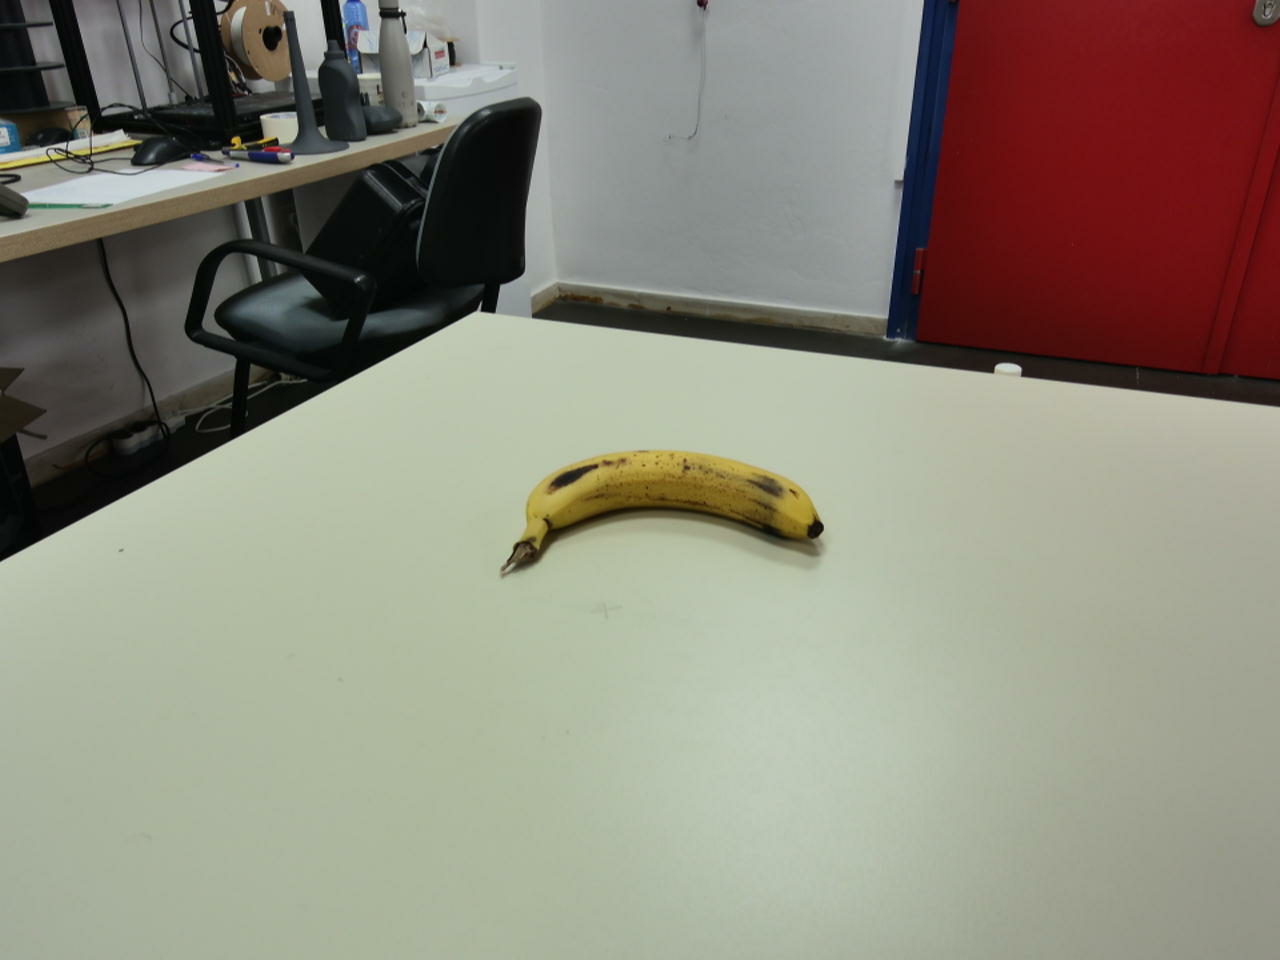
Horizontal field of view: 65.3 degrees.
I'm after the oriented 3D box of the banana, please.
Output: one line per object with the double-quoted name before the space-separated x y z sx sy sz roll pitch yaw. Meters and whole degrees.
"banana" 0.012 0.013 0.618 0.186 0.038 0.097 -2 26 -3
